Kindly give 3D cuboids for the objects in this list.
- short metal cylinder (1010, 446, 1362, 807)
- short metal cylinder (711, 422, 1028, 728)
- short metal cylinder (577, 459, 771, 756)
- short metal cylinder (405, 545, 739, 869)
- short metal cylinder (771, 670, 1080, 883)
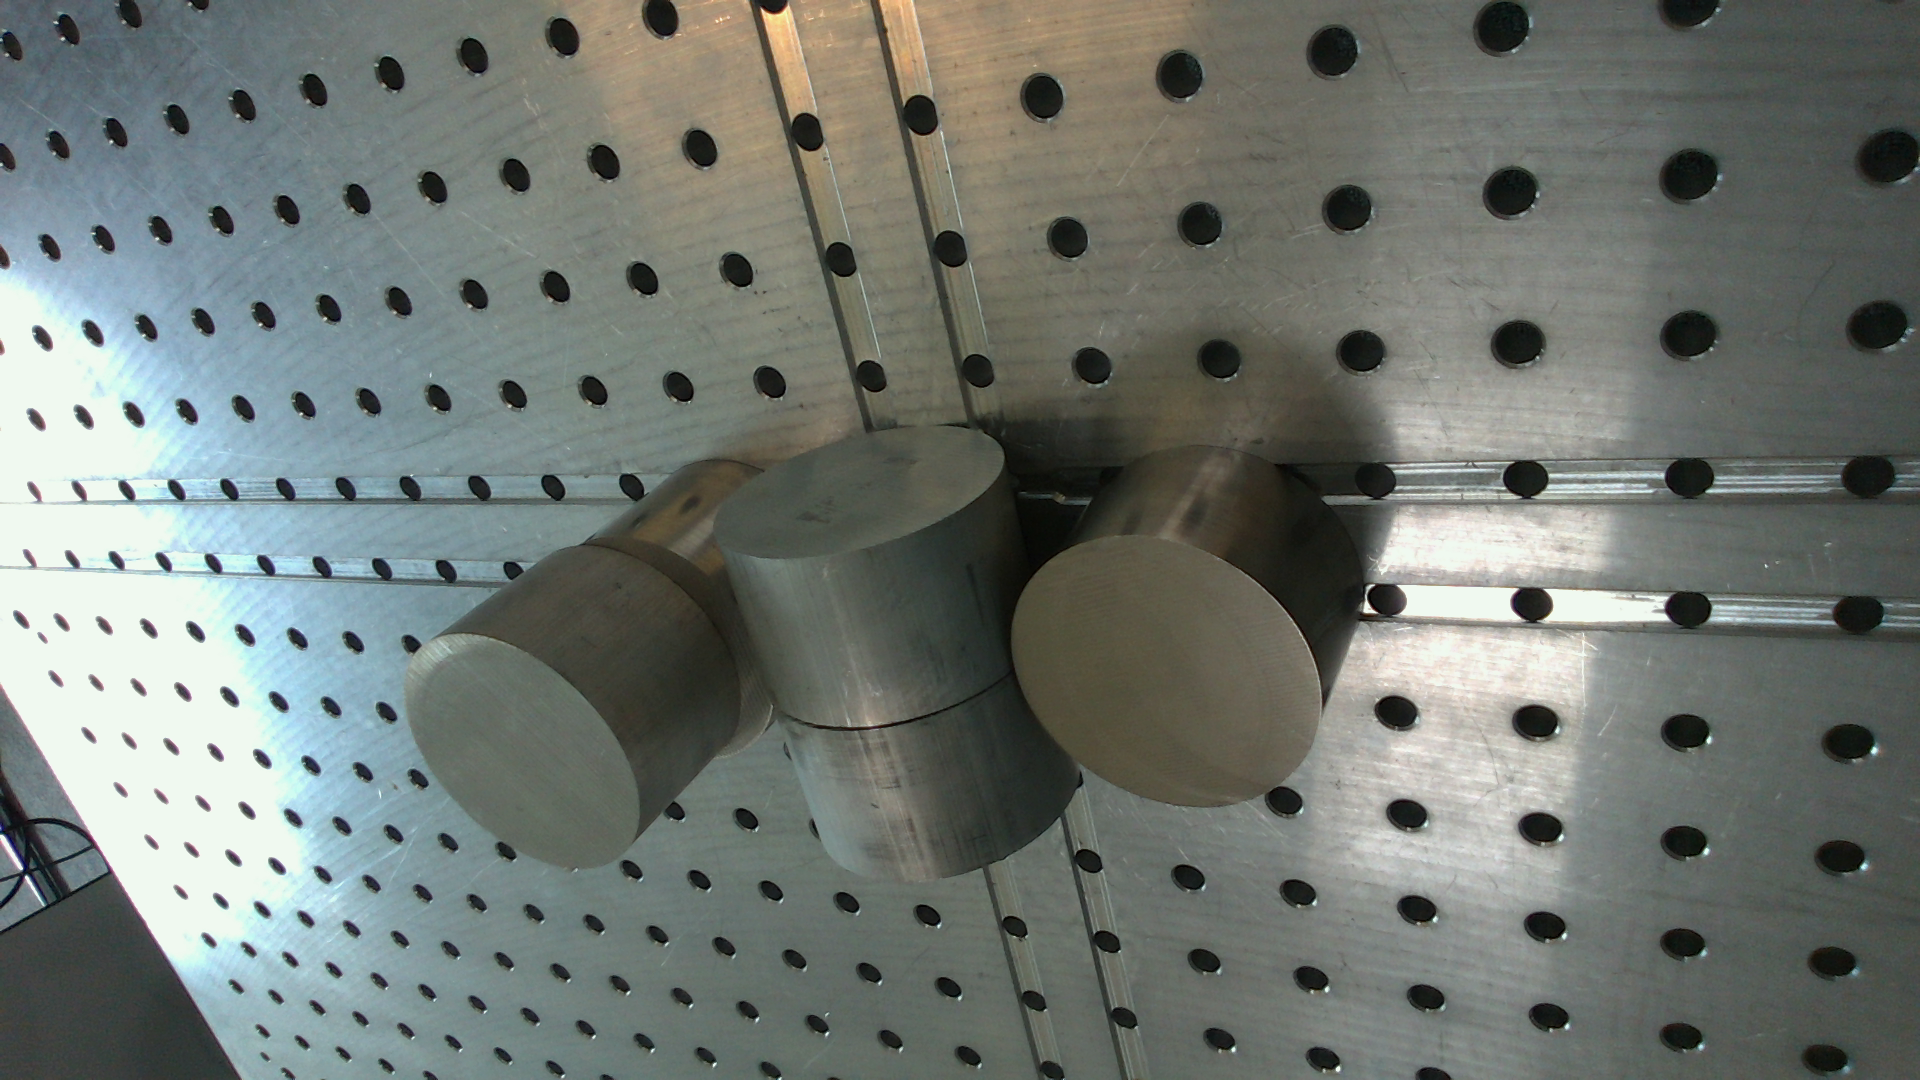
[{"bbox_3d":[0.060,0.022,0.361,0.080,0.050,0.080,13,124,21],"label":"short metal cylinder"},{"bbox_3d":[-0.022,0.007,0.377,0.080,0.080,0.050,1,120,28],"label":"short metal cylinder"},{"bbox_3d":[-0.081,0.021,0.436,0.080,0.050,0.080,13,124,21],"label":"short metal cylinder"},{"bbox_3d":[-0.113,0.049,0.404,0.080,0.050,0.080,13,124,21],"label":"short metal cylinder"},{"bbox_3d":[-0.010,0.053,0.398,0.080,0.080,0.050,-1,118,29],"label":"short metal cylinder"}]
